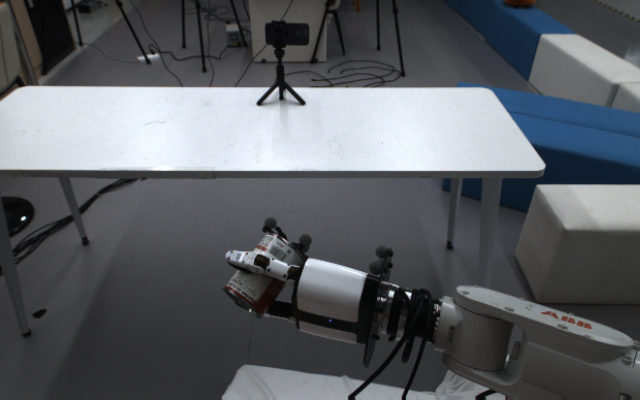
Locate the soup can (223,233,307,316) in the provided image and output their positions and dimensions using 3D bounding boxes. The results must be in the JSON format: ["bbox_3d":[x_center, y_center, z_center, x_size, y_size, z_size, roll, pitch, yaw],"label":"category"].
[{"bbox_3d":[-0.077,0.105,0.676,0.067,0.067,0.101,25,66,30],"label":"soup can"}]
